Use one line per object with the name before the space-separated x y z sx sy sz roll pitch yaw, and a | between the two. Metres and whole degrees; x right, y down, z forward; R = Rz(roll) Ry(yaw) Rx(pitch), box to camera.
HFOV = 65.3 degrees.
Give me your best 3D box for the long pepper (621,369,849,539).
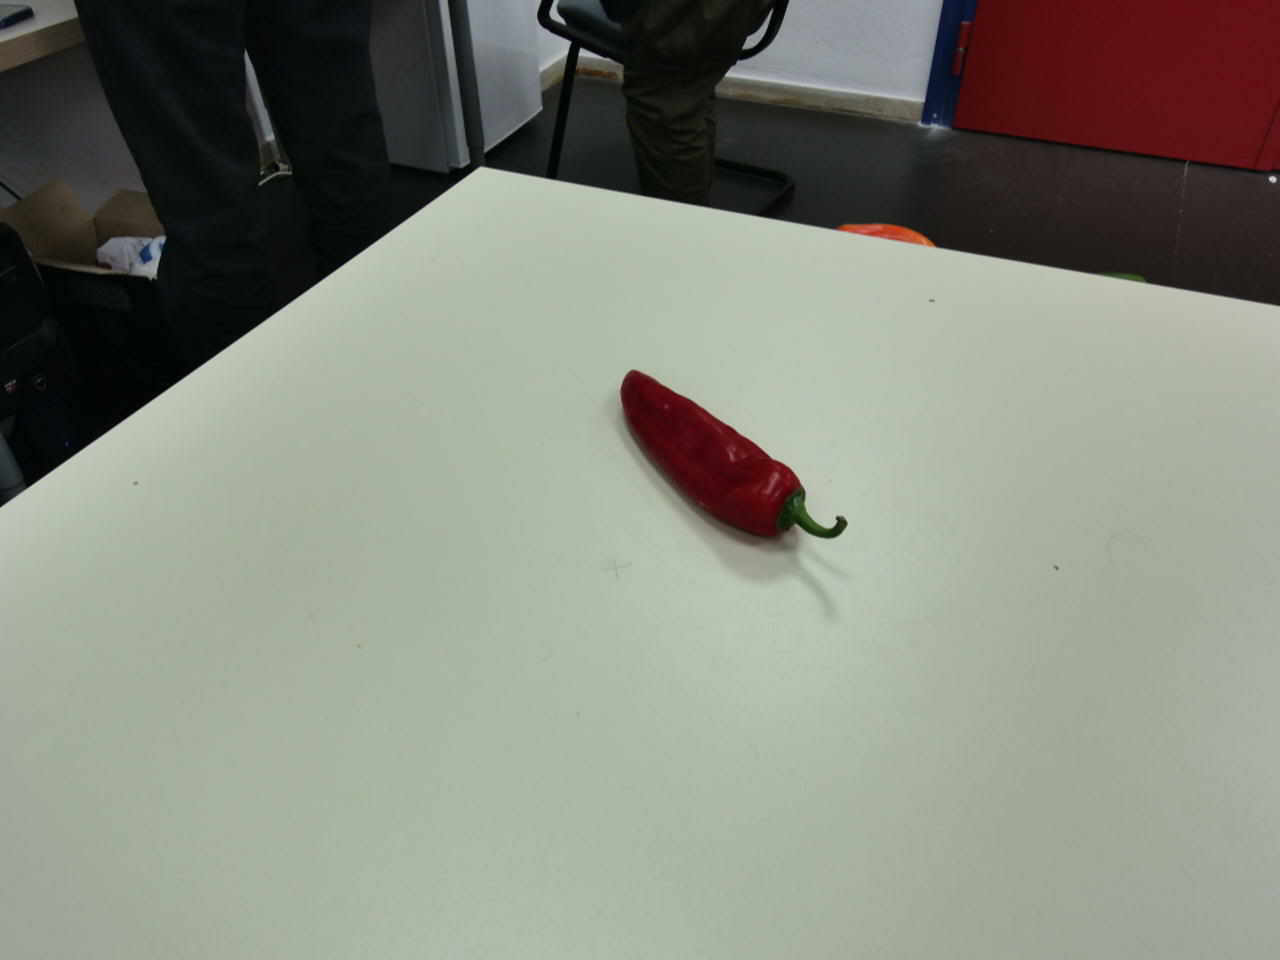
long pepper | 0.042 -0.016 0.601 0.050 0.043 0.211 -22 43 -25
